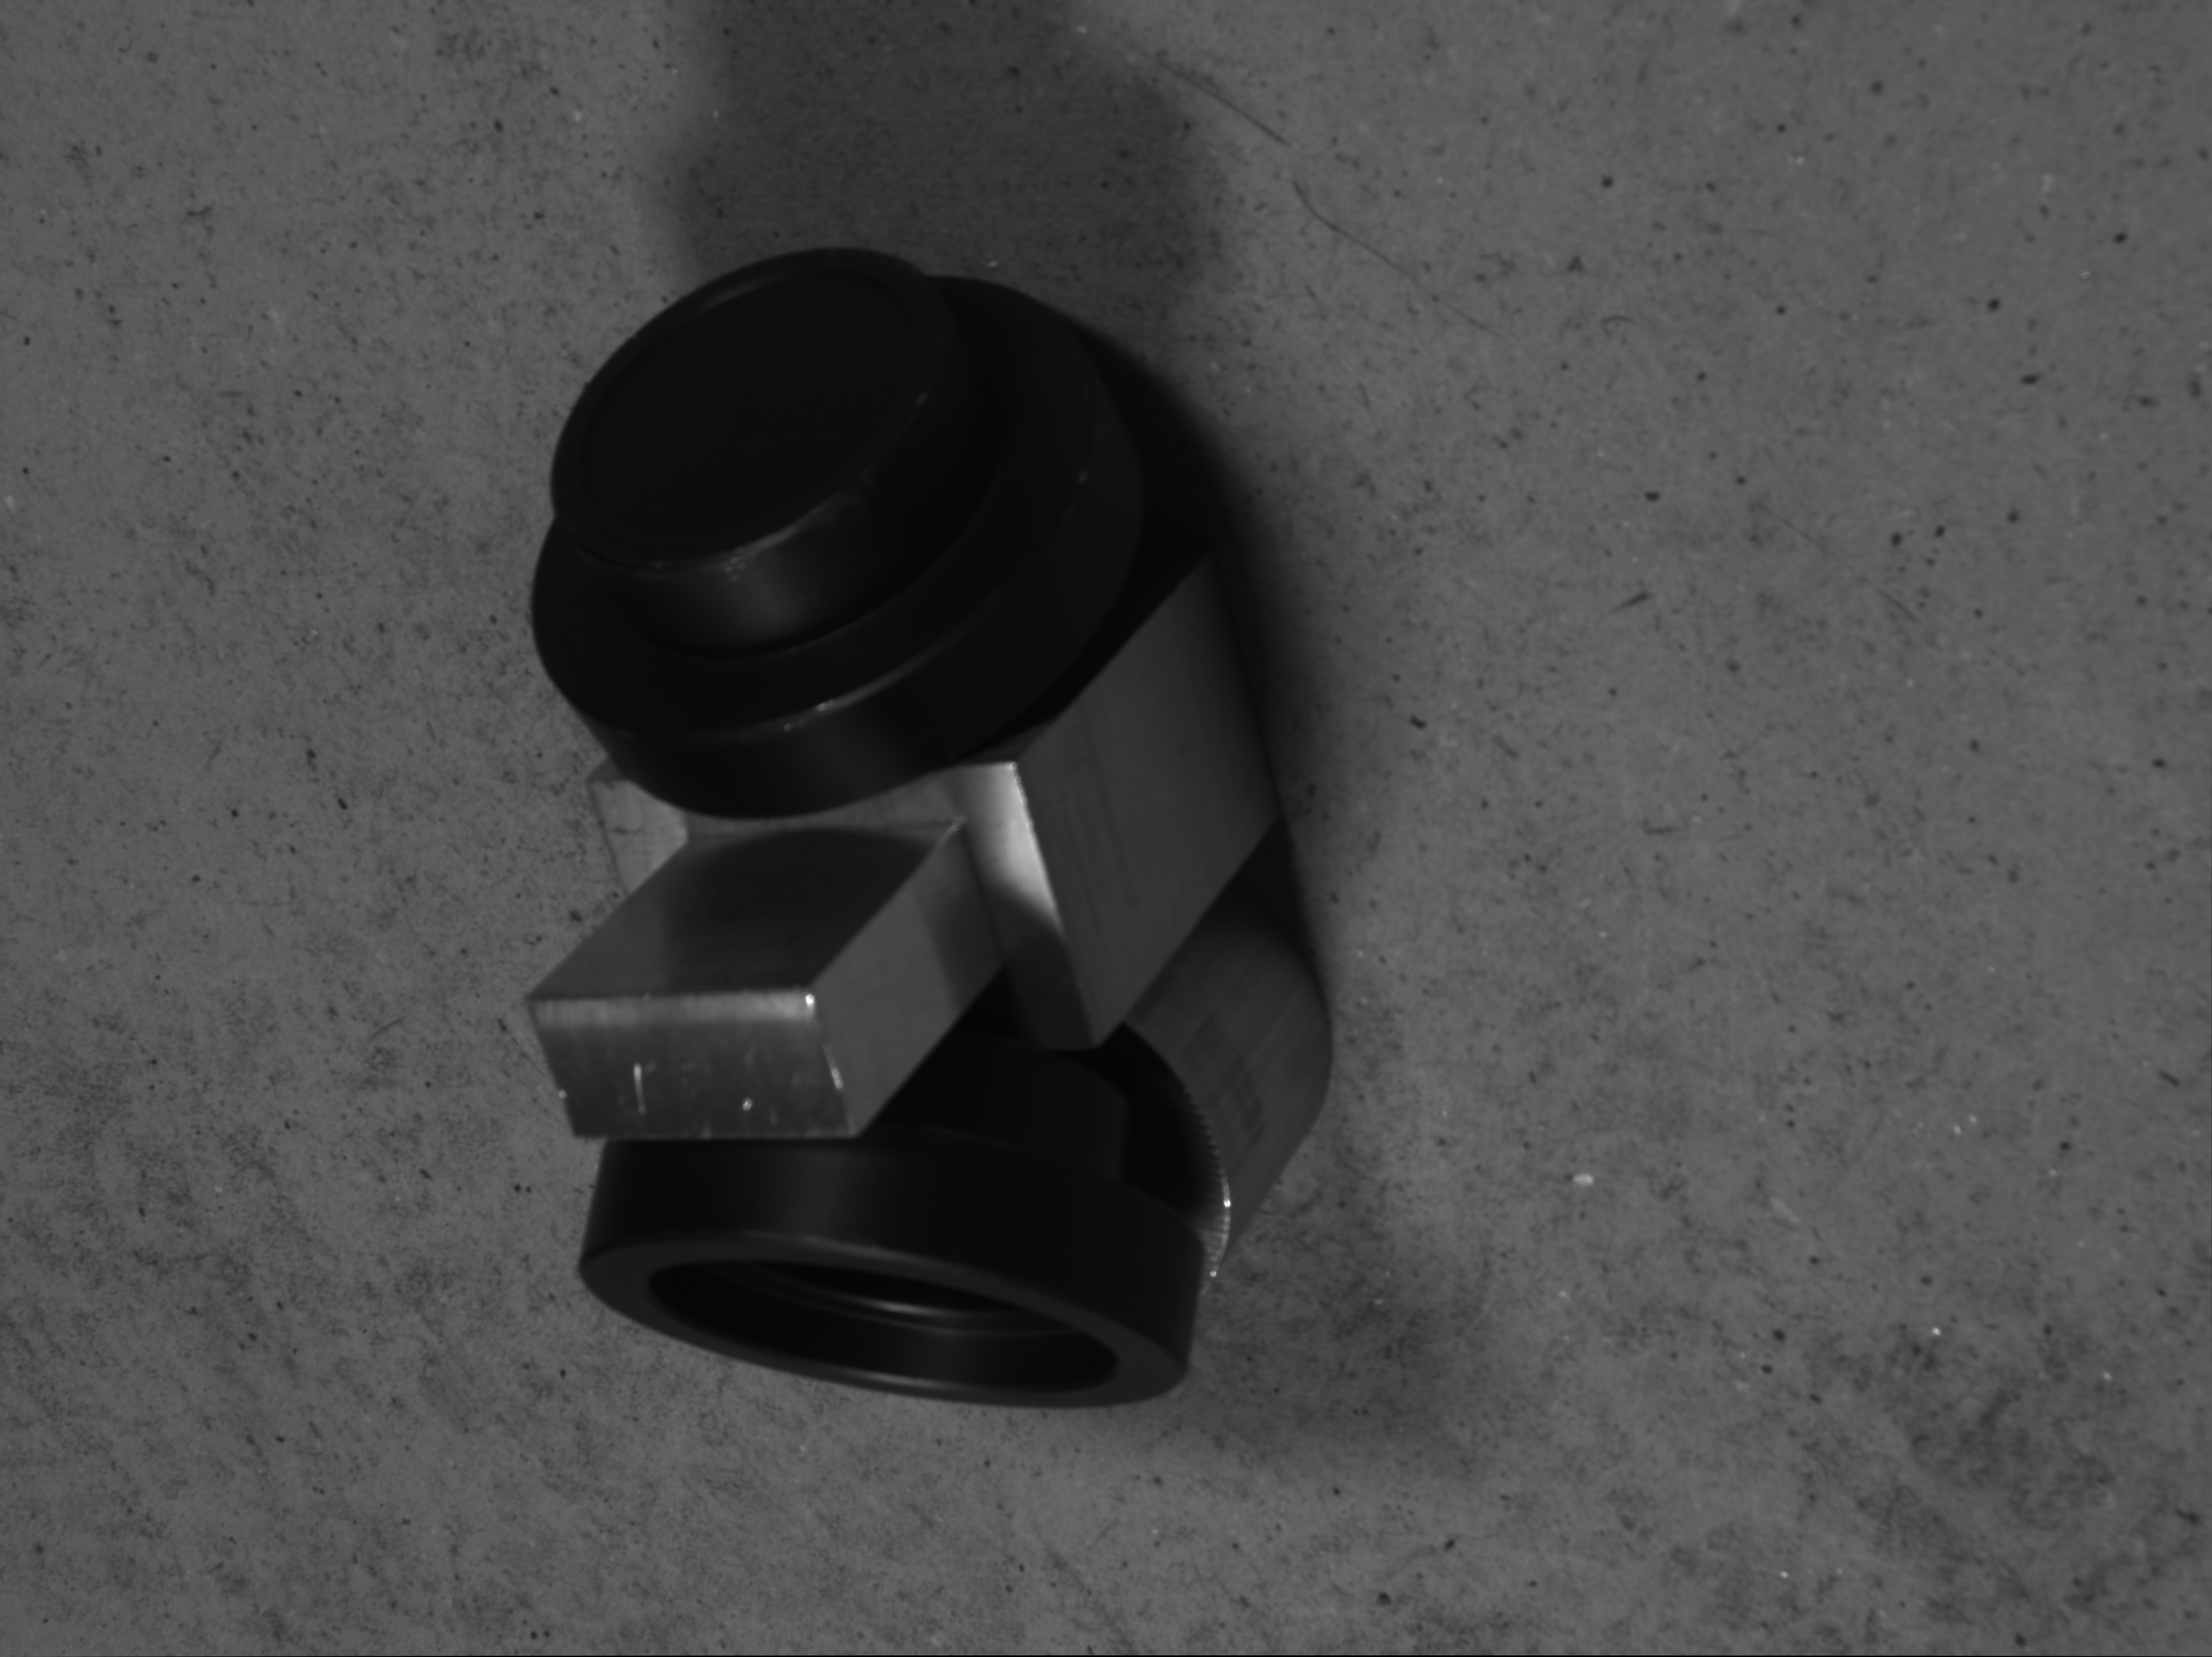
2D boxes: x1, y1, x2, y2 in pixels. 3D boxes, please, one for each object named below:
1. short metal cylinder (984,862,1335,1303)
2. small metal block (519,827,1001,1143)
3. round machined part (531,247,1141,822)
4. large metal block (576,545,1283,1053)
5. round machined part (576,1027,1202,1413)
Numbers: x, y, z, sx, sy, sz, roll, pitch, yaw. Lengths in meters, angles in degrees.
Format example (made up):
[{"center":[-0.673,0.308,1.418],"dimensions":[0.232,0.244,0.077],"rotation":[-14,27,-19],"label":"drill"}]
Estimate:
[{"center":[-0.006,0.045,0.647],"dimensions":[0.080,0.050,0.080],"rotation":[12,123,20],"label":"short metal cylinder"},{"center":[-0.051,0.024,0.553],"dimensions":[0.050,0.050,0.025],"rotation":[-3,116,28],"label":"small metal block"},{"center":[-0.047,-0.052,0.572],"dimensions":[0.098,0.098,0.042],"rotation":[-2,142,28],"label":"round machined part"},{"center":[-0.027,-0.005,0.606],"dimensions":[0.080,0.080,0.050],"rotation":[-2,117,28],"label":"large metal block"},{"center":[-0.033,0.060,0.589],"dimensions":[0.098,0.042,0.098],"rotation":[9,159,4],"label":"round machined part"}]
